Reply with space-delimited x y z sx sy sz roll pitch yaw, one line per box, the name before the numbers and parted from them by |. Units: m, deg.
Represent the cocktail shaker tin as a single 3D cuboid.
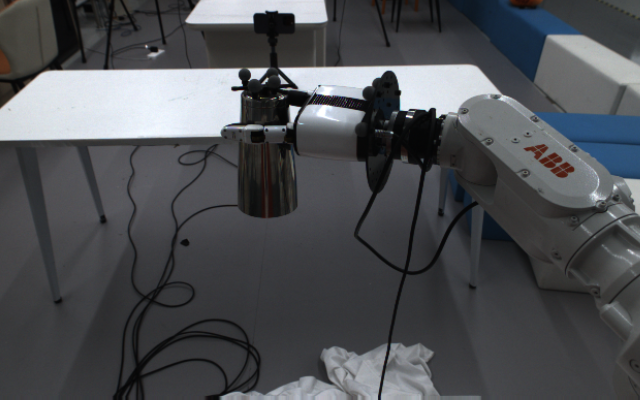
cocktail shaker tin | -0.076 -0.074 0.702 0.093 0.170 0.093 1 27 -1
